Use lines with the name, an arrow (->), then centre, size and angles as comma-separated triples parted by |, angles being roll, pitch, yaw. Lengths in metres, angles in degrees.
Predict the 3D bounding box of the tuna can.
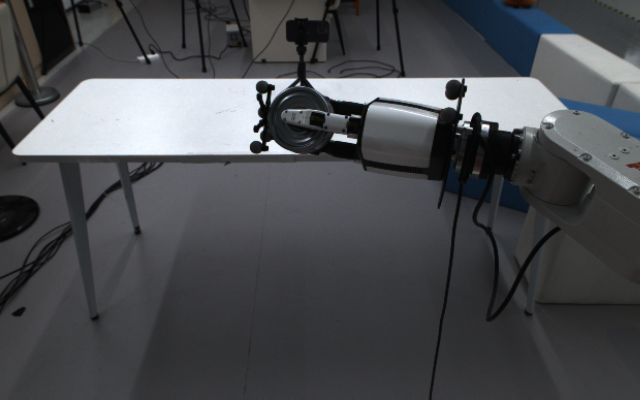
tuna can -> -0.022, -0.105, 0.631 | 0.085, 0.085, 0.034 | 10, 2, 11
